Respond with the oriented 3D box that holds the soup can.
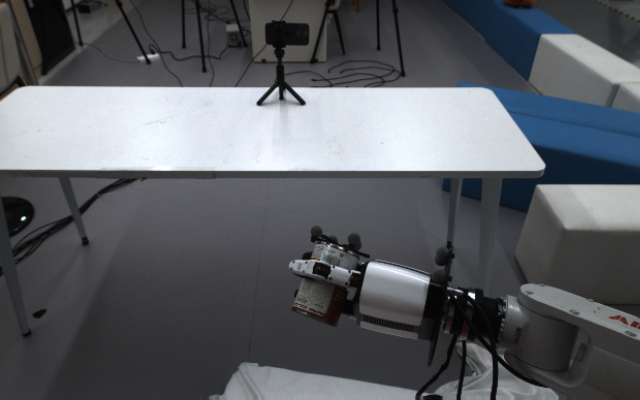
[{"bbox_3d":[0.010,0.116,0.671,0.067,0.067,0.101,15,75,18],"label":"soup can"}]
